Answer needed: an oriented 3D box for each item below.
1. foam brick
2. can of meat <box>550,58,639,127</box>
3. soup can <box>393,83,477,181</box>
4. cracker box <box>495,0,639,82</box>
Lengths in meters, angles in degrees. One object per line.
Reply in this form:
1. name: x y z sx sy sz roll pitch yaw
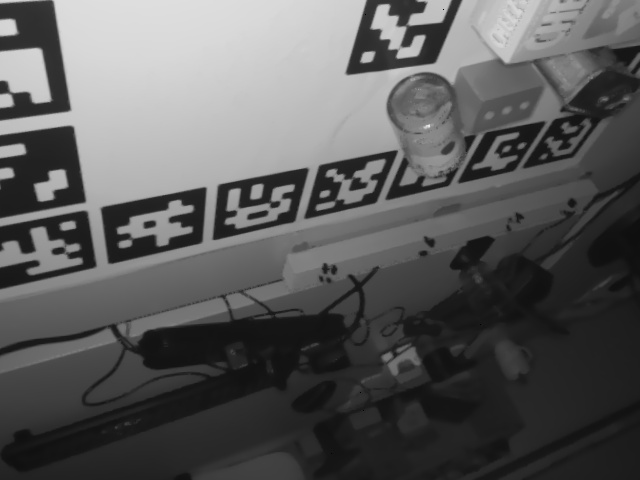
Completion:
1. foam brick: 0.203 -0.145 0.744 0.079 0.051 0.052 -19 147 -14
2. can of meat: 0.302 -0.171 0.748 0.103 0.084 0.057 -3 141 -33
3. soup can: 0.124 -0.111 0.732 0.067 0.068 0.102 -33 154 10
4. cracker box: 0.281 -0.240 0.617 0.216 0.072 0.162 -19 149 -20
